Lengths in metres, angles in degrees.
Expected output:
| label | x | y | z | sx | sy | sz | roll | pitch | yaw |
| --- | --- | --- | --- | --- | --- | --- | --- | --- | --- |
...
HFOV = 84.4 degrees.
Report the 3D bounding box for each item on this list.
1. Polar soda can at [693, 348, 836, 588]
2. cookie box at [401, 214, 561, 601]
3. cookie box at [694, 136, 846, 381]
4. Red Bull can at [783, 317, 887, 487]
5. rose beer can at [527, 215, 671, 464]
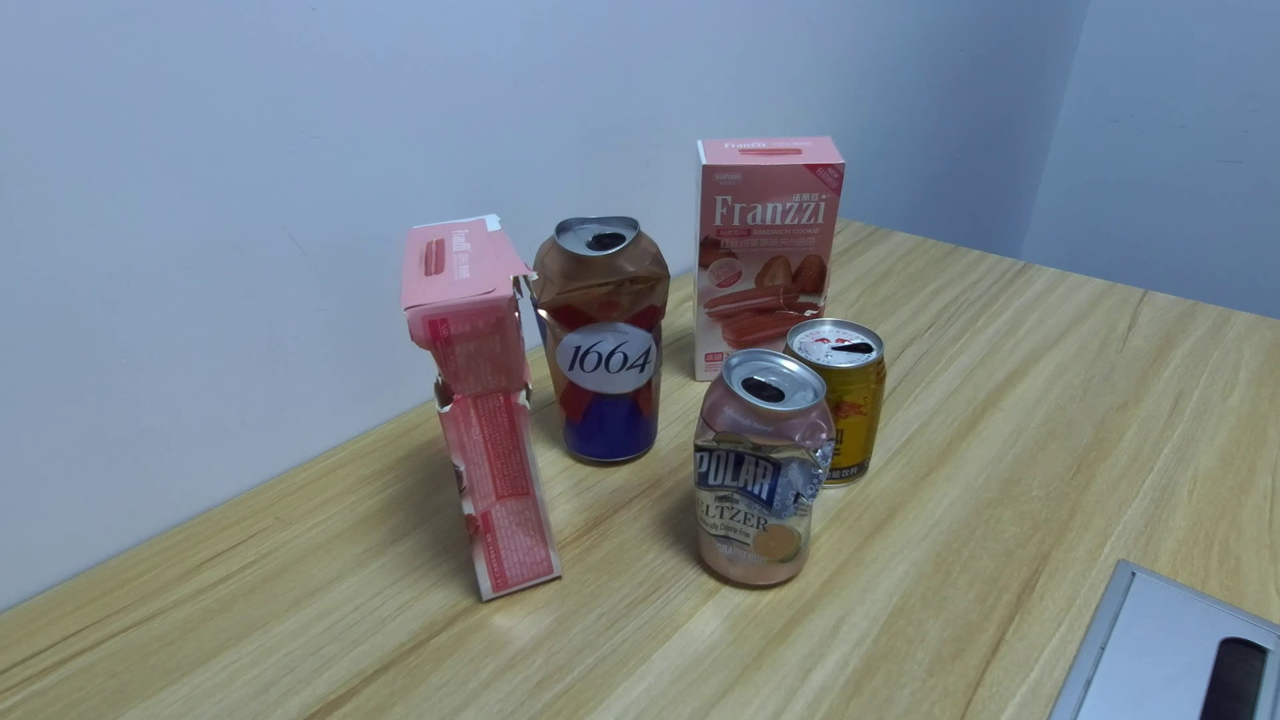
| label | x | y | z | sx | sy | sz | roll | pitch | yaw |
| --- | --- | --- | --- | --- | --- | --- | --- | --- | --- |
| Polar soda can | 0.070 | 0.060 | 0.383 | 0.070 | 0.122 | 0.067 | 19 | 32 | 29 |
| cookie box | -0.080 | 0.028 | 0.384 | 0.059 | 0.186 | 0.104 | -12 | 32 | -13 |
| cookie box | 0.094 | -0.066 | 0.528 | 0.105 | 0.188 | 0.049 | 0 | 36 | 1 |
| Red Bull can | 0.122 | 0.027 | 0.460 | 0.069 | 0.092 | 0.069 | -2 | 32 | 1 |
| rose beer can | -0.023 | -0.011 | 0.467 | 0.074 | 0.162 | 0.067 | -23 | 37 | -29 |
